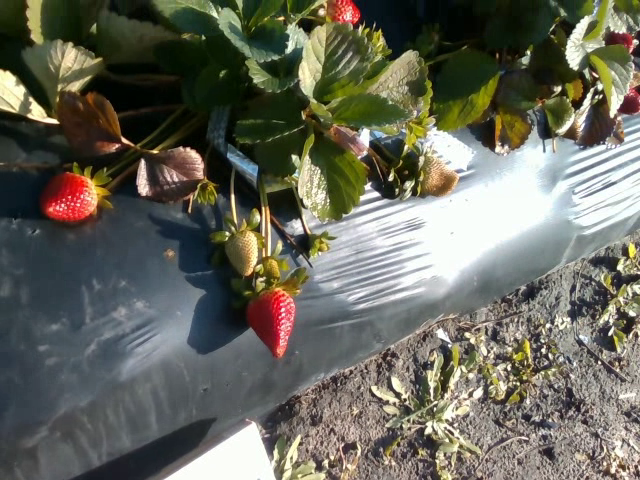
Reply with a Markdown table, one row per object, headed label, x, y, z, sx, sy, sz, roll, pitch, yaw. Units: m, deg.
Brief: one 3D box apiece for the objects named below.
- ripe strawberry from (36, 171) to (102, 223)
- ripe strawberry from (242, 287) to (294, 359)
| label | x | y | z | sx | sy | sz | roll | pitch | yaw |
| --- | --- | --- | --- | --- | --- | --- | --- | --- | --- |
| ripe strawberry | -0.163 | -0.026 | 0.406 | 0.035 | 0.035 | 0.046 | -9 | 14 | 45 |
| ripe strawberry | -0.036 | 0.063 | 0.462 | 0.042 | 0.059 | 0.042 | 3 | -15 | -40 |
